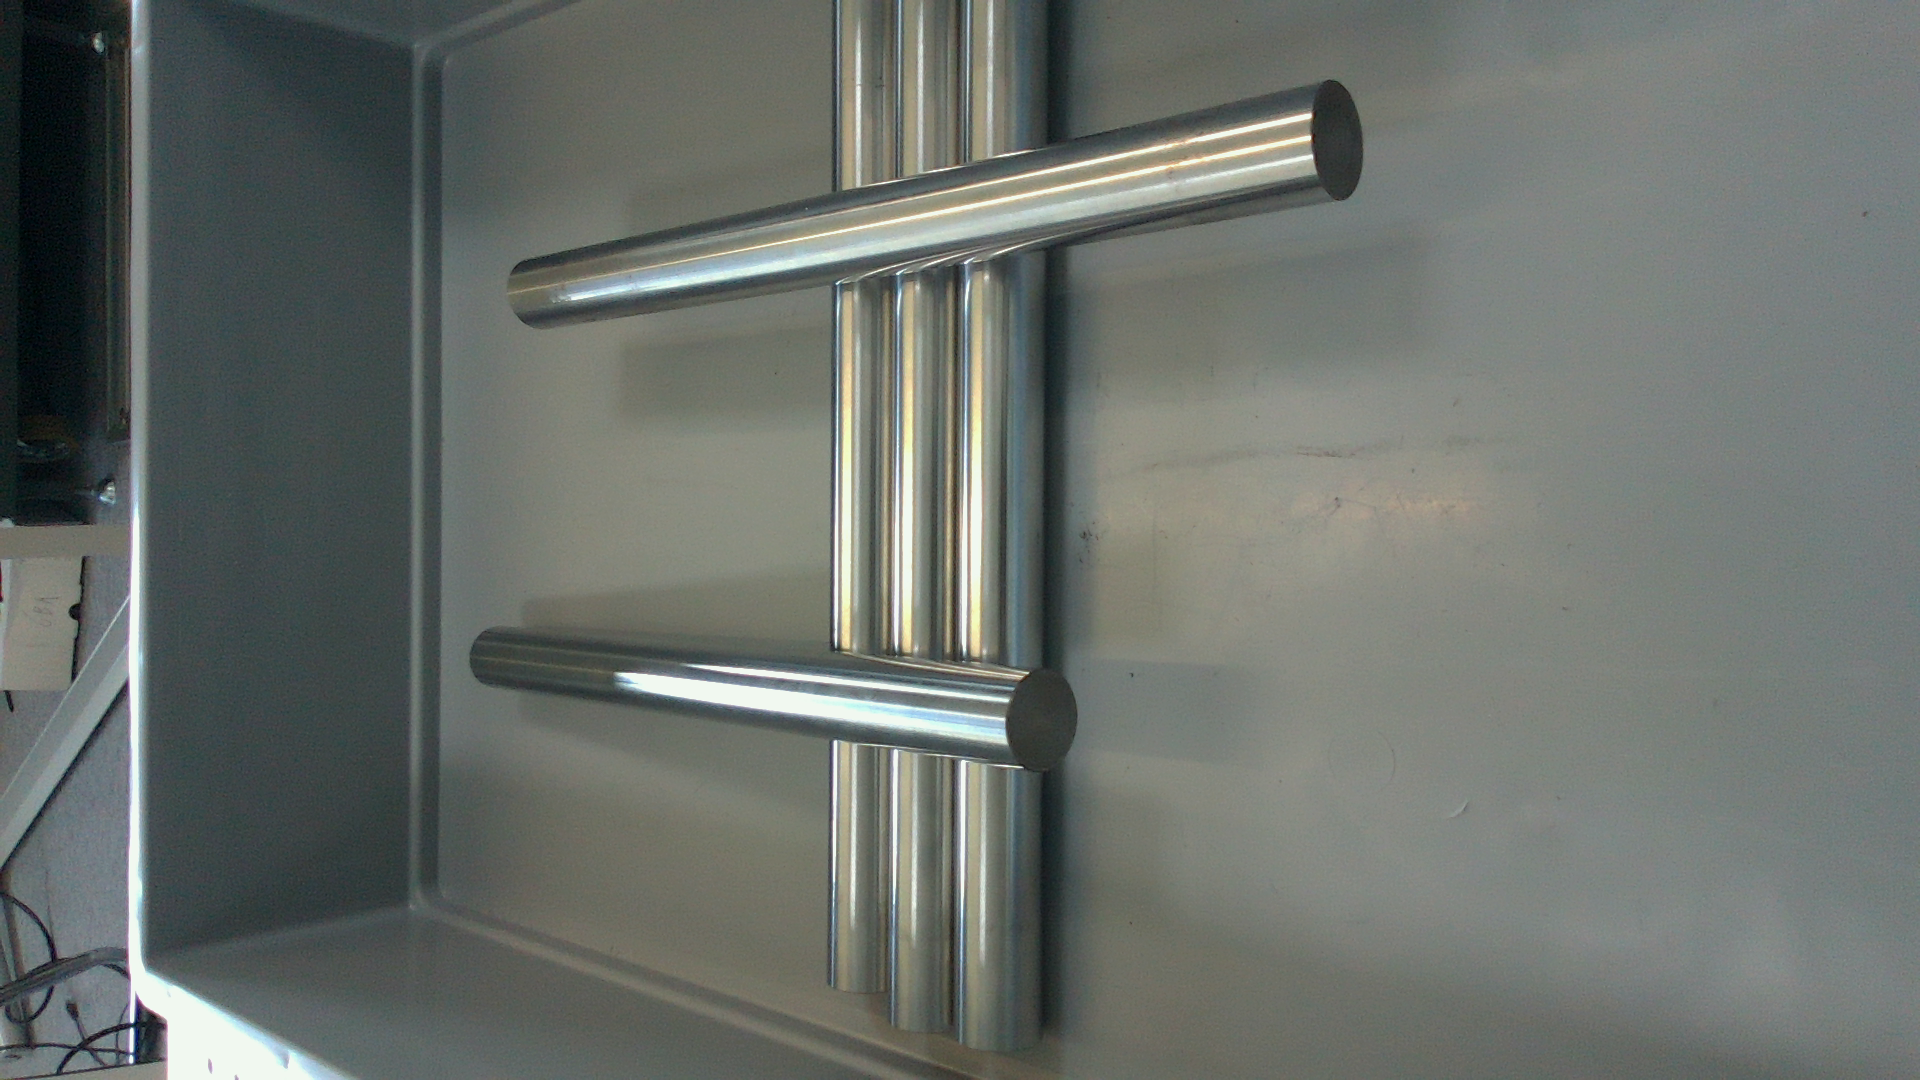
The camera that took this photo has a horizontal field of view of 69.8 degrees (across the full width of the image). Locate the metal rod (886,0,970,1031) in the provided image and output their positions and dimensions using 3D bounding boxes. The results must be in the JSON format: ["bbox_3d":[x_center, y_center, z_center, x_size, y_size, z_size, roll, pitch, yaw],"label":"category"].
[{"bbox_3d":[-0.008,-0.011,0.401,0.025,0.025,0.300,1,91,40],"label":"metal rod"}]

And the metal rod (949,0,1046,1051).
[{"bbox_3d":[0.011,-0.011,0.384,0.025,0.025,0.300,1,91,40],"label":"metal rod"}]

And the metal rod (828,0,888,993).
[{"bbox_3d":[-0.027,-0.017,0.417,0.025,0.025,0.300,1,90,40],"label":"metal rod"}]

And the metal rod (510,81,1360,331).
[{"bbox_3d":[-0.034,-0.086,0.389,0.299,0.025,0.025,0,90,40],"label":"metal rod"}]

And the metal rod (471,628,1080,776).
[{"bbox_3d":[-0.081,0.045,0.439,0.299,0.025,0.025,-1,90,47],"label":"metal rod"}]
